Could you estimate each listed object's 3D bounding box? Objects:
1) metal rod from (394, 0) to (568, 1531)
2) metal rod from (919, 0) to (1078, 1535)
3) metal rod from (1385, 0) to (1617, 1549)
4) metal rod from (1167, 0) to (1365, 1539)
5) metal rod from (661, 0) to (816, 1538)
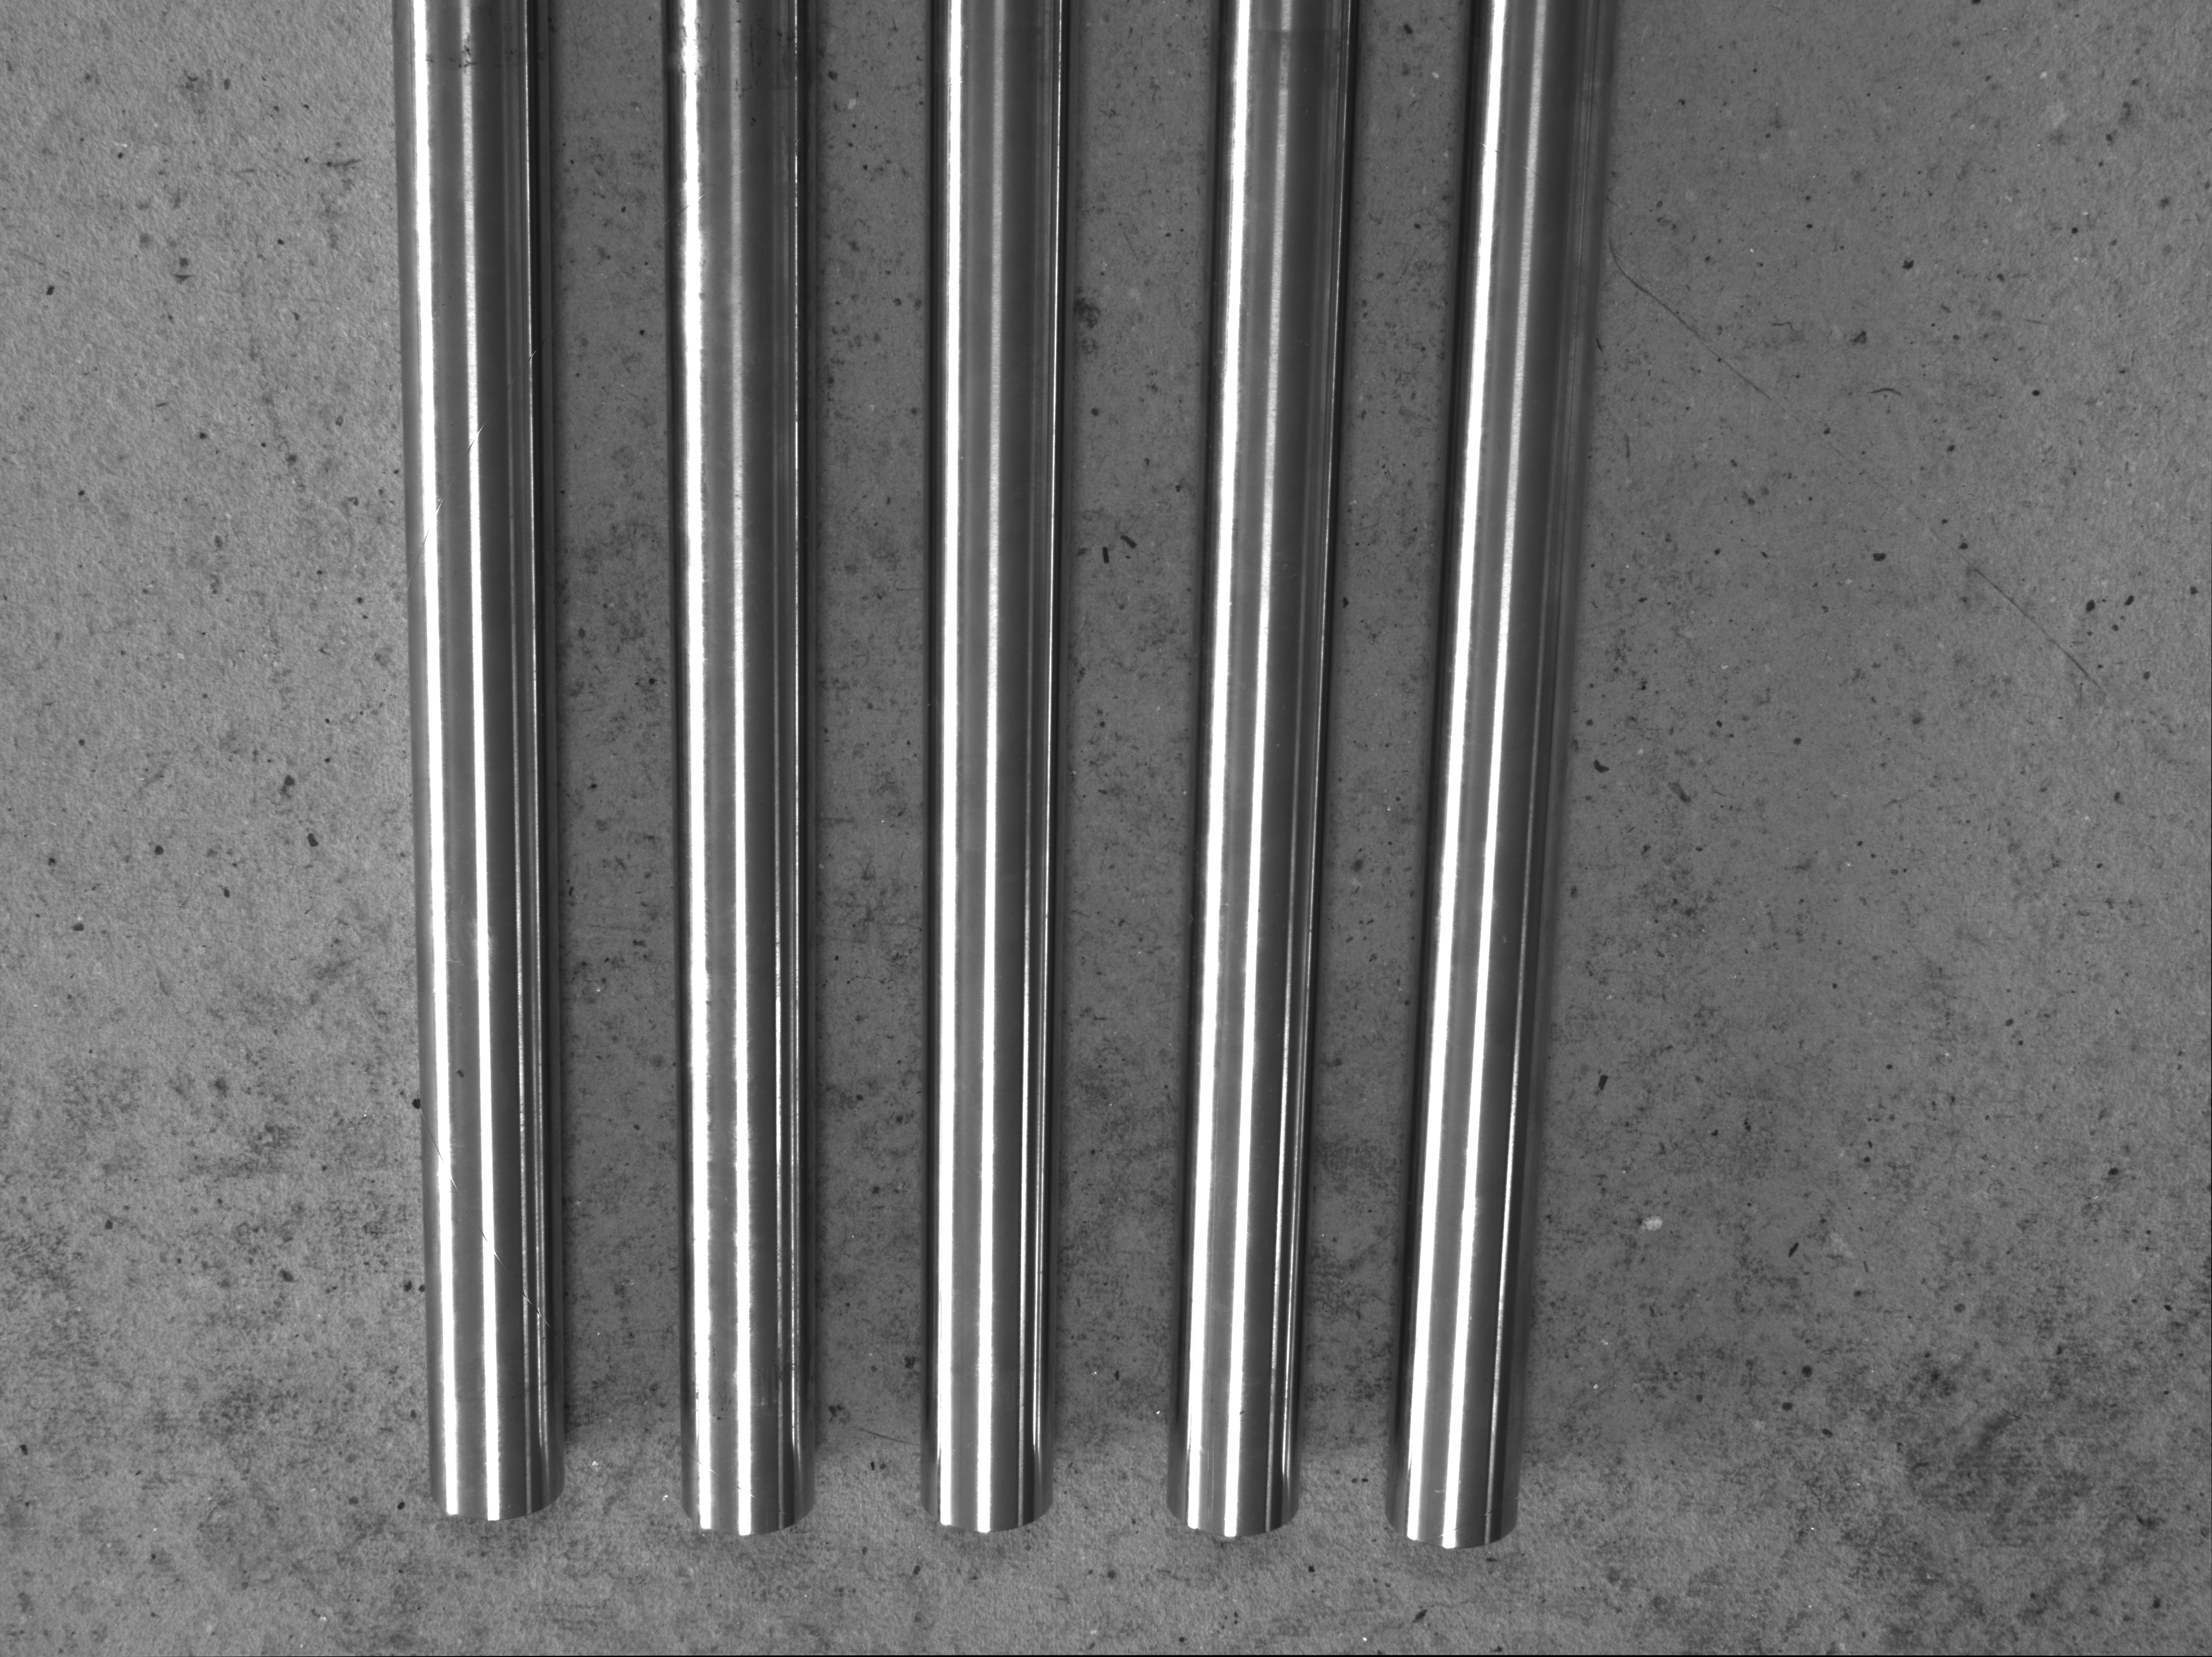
[{"bbox_3d":[-0.107,-0.016,0.636,0.025,0.025,0.300,2,110,-1],"label":"metal rod"},{"bbox_3d":[-0.020,-0.015,0.638,0.025,0.025,0.300,1,110,0],"label":"metal rod"},{"bbox_3d":[0.068,-0.012,0.639,0.025,0.025,0.300,1,110,0],"label":"metal rod"},{"bbox_3d":[0.027,-0.014,0.638,0.025,0.025,0.300,1,110,0],"label":"metal rod"},{"bbox_3d":[-0.063,-0.014,0.638,0.025,0.025,0.300,1,110,0],"label":"metal rod"}]
